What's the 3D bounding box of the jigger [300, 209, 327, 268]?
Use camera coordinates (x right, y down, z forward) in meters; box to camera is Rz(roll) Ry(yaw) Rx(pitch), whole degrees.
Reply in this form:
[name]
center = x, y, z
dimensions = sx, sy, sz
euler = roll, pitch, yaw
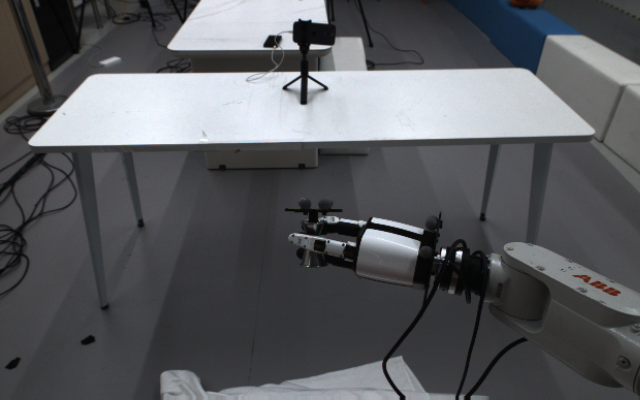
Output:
[jigger]
center = -0.010, 0.066, 0.748
dimensions = 0.043, 0.071, 0.043
euler = -1, 2, 0
